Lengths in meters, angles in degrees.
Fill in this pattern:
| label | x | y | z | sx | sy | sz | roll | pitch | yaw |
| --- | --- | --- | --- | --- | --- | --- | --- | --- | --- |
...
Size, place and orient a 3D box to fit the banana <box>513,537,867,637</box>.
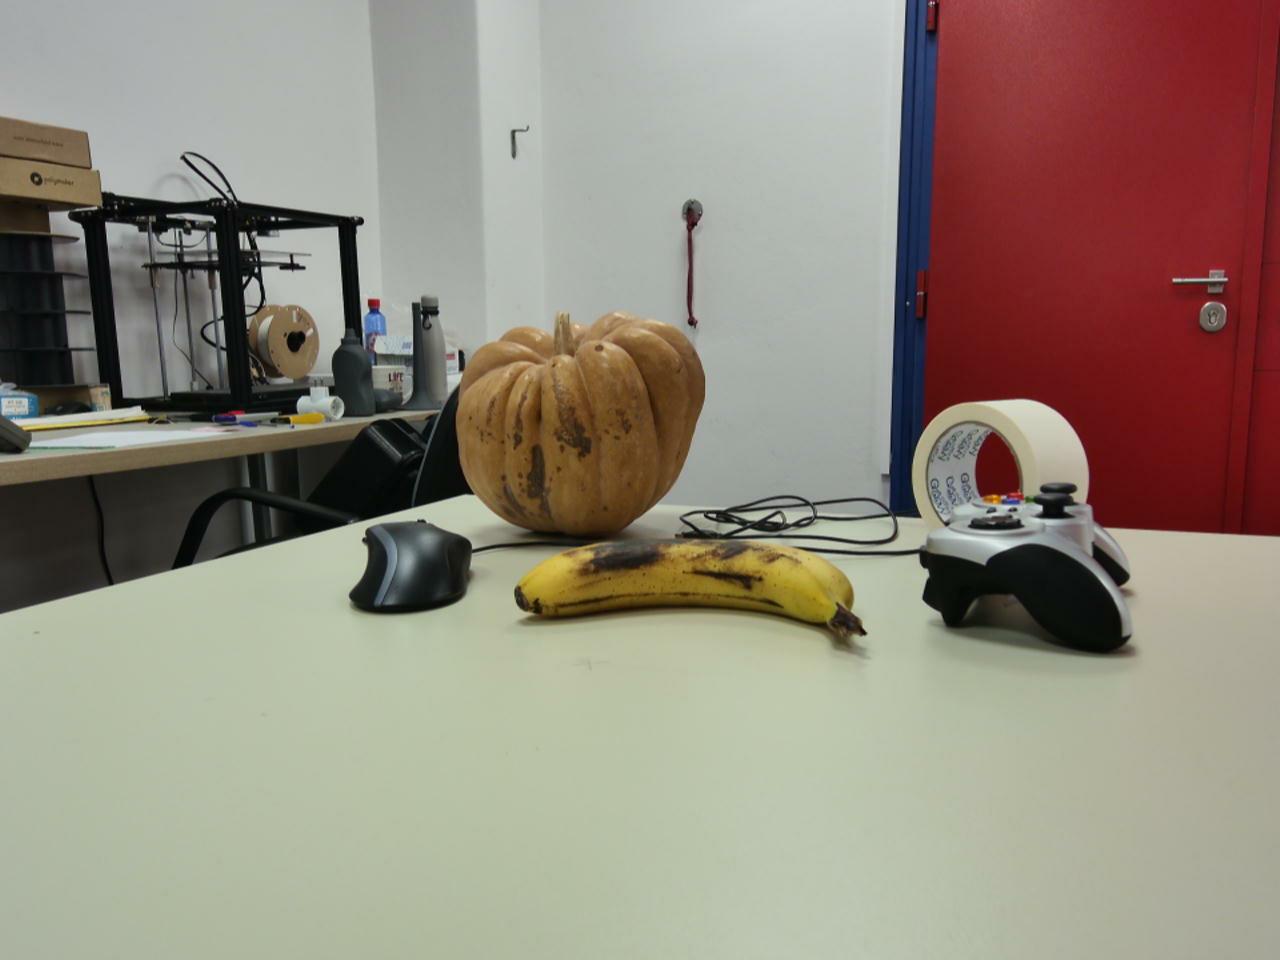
| label | x | y | z | sx | sy | sz | roll | pitch | yaw |
| --- | --- | --- | --- | --- | --- | --- | --- | --- | --- |
| banana | 0.032 | 0.057 | 0.542 | 0.187 | 0.039 | 0.094 | 2 | 6 | 22 |
